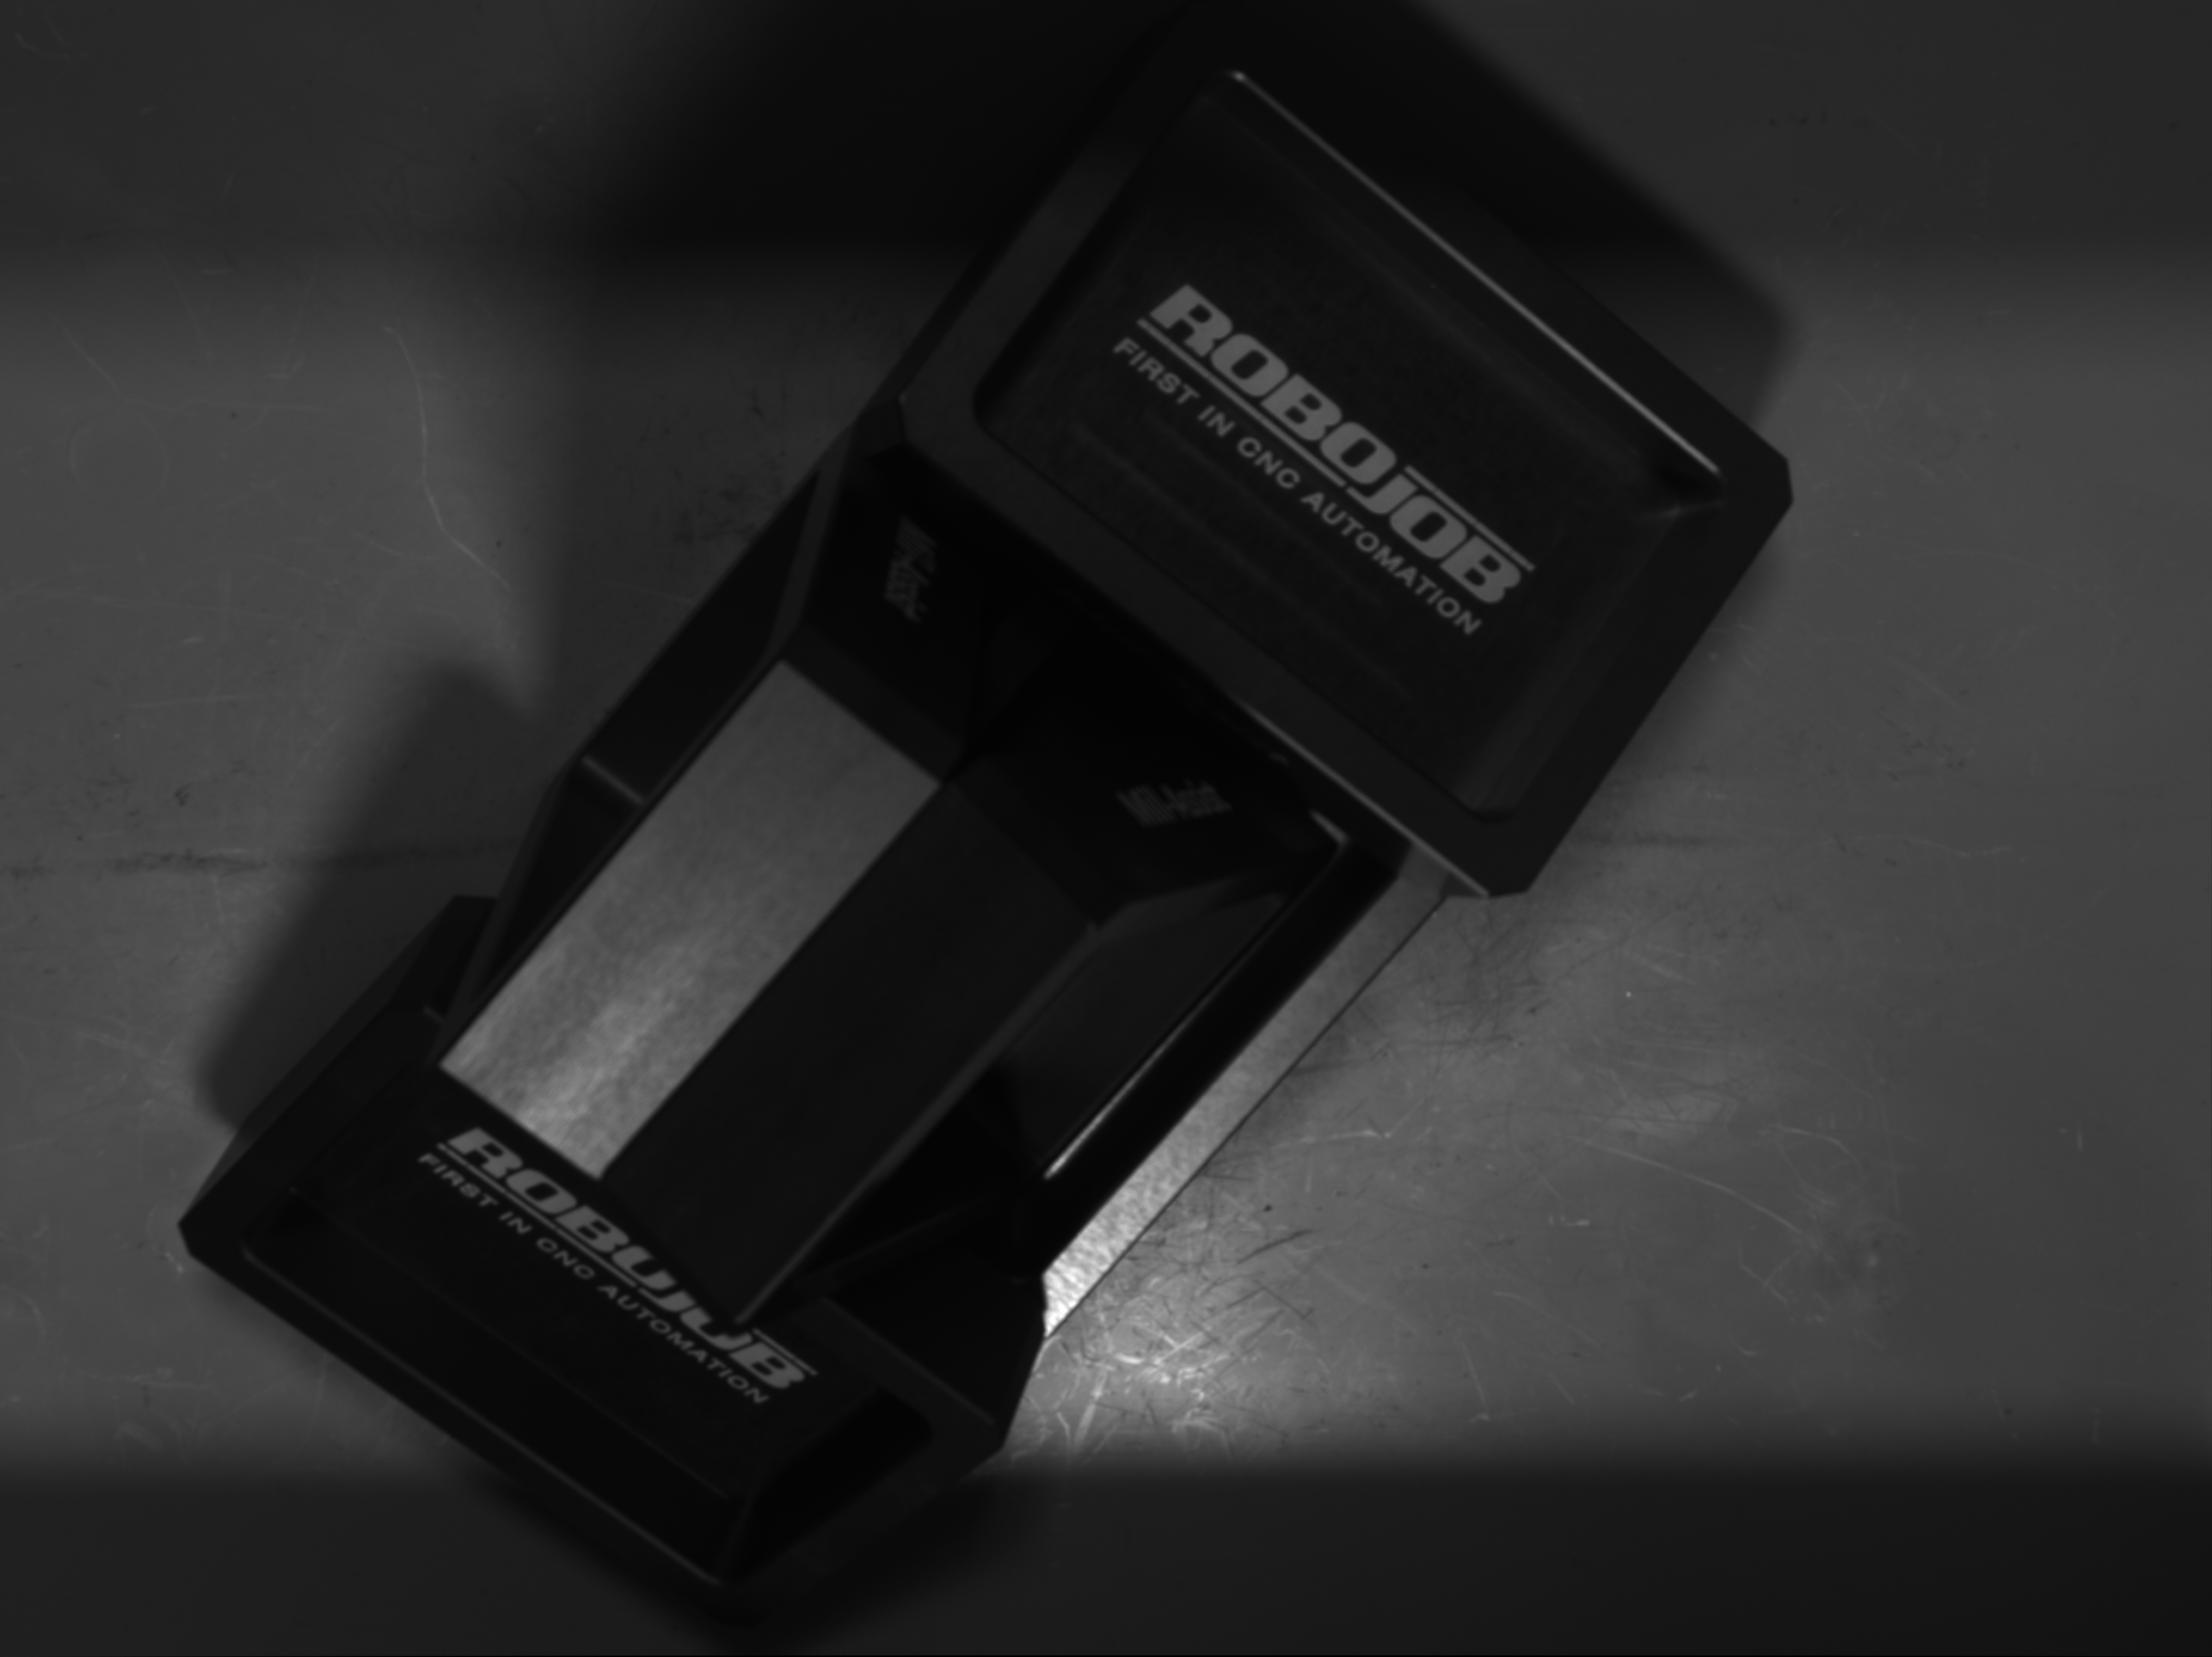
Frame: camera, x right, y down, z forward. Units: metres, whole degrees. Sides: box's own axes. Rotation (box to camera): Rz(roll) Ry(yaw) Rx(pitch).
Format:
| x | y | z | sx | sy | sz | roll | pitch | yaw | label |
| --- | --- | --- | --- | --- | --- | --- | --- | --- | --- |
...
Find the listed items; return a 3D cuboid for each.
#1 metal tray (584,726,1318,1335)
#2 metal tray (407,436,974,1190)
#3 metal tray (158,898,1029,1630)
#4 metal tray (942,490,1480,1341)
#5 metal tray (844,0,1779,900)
| x | y | z | sx | sy | sz | roll | pitch | yaw | label |
| --- | --- | --- | --- | --- | --- | --- | --- | --- | --- |
| -0.020 | 0.028 | 0.583 | 0.030 | 0.130 | 0.090 | 44 | 105 | 10 | metal tray |
| -0.062 | -0.008 | 0.581 | 0.030 | 0.130 | 0.090 | 38 | 105 | -12 | metal tray |
| -0.091 | 0.080 | 0.649 | 0.130 | 0.030 | 0.090 | 38 | 129 | -13 | metal tray |
| -0.008 | 0.017 | 0.645 | 0.090 | 0.030 | 0.130 | 37 | 105 | -13 | metal tray |
| 0.035 | -0.060 | 0.599 | 0.130 | 0.030 | 0.090 | 37 | 80 | -13 | metal tray |
